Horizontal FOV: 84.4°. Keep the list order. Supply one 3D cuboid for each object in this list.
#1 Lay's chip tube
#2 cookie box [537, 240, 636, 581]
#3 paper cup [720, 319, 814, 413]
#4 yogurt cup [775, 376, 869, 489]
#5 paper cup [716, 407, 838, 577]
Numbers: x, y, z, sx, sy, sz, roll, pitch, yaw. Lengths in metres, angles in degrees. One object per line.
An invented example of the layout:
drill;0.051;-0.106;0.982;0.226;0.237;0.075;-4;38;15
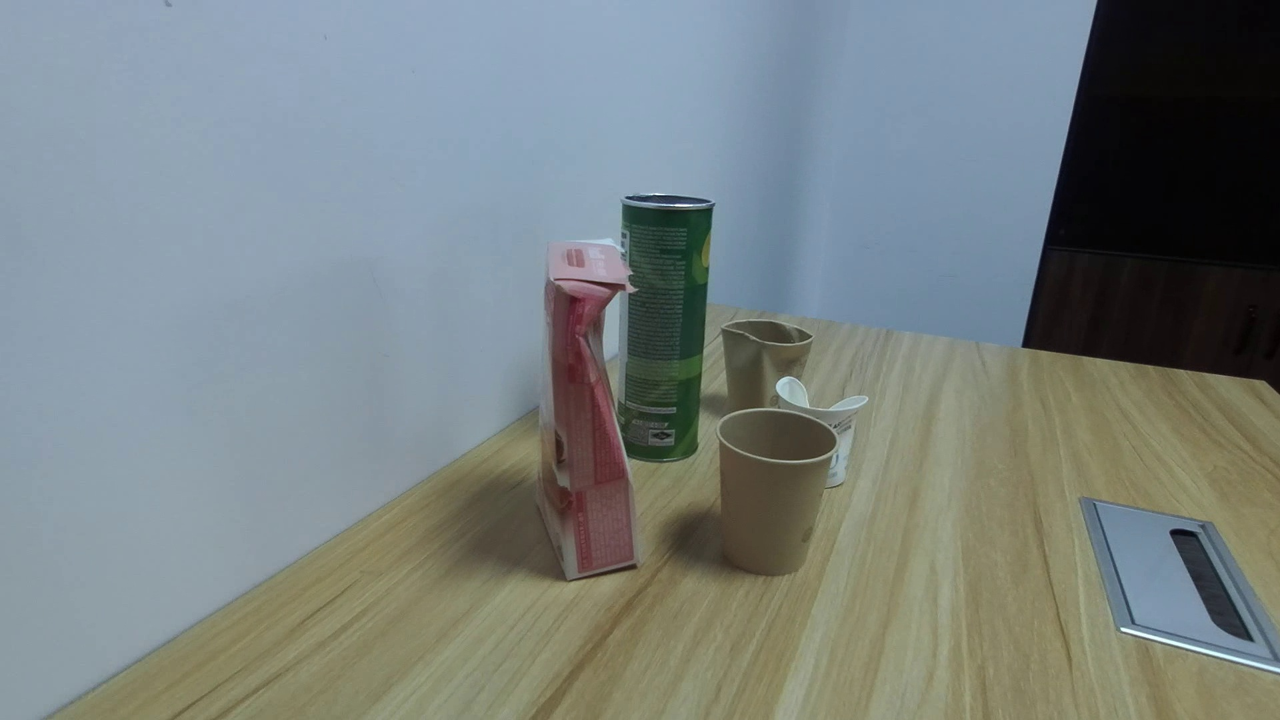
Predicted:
Lay's chip tube;0.018;-0.025;0.554;0.071;0.202;0.071;3;19;-1
cookie box;-0.030;0.028;0.426;0.055;0.184;0.118;-2;20;-11
paper cup;0.112;0.012;0.637;0.066;0.084;0.071;-11;24;-33
yogurt cup;0.133;0.057;0.540;0.067;0.070;0.067;4;20;-1
paper cup;0.080;0.082;0.433;0.075;0.082;0.075;2;20;0
